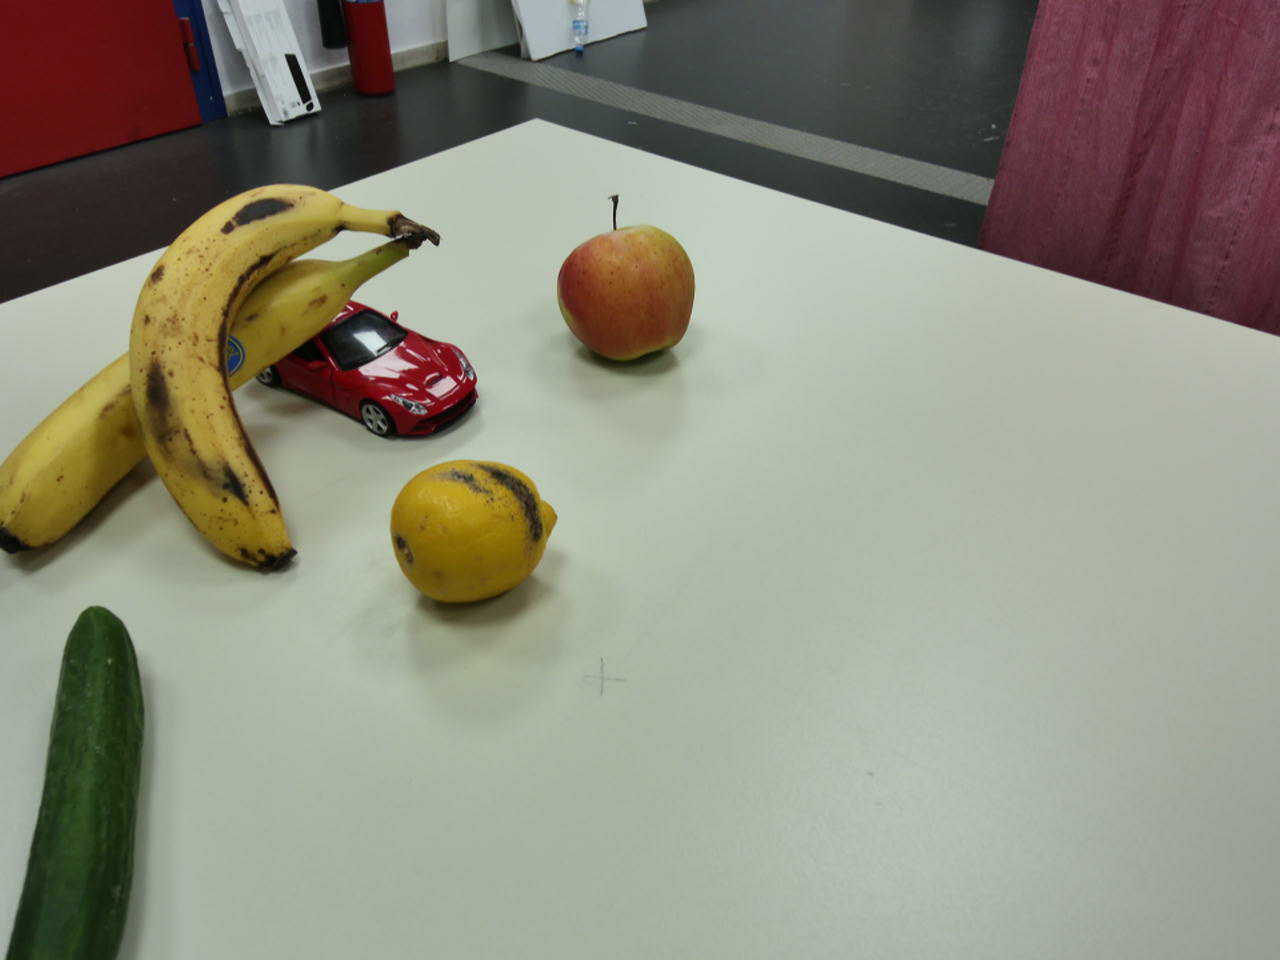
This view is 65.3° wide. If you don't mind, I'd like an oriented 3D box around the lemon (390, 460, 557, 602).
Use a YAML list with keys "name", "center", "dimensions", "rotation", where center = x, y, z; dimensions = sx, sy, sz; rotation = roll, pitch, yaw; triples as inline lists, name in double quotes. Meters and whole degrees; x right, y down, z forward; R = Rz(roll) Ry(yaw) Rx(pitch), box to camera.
- name: "lemon"
  center: [-0.068, 0.019, 0.394]
  dimensions: [0.058, 0.056, 0.061]
  rotation: [19, 40, 23]
